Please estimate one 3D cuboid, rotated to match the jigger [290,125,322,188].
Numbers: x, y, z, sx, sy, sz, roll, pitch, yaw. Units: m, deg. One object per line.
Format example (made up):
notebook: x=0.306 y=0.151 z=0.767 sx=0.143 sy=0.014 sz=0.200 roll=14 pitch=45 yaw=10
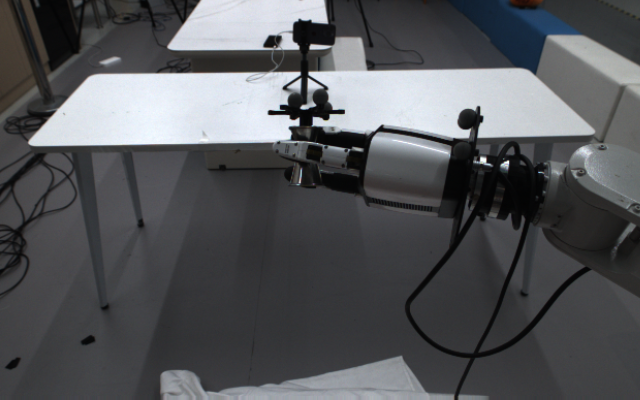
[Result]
jigger: x=-0.015 y=-0.051 z=0.565 sx=0.043 sy=0.071 sz=0.043 roll=-1 pitch=2 yaw=0
